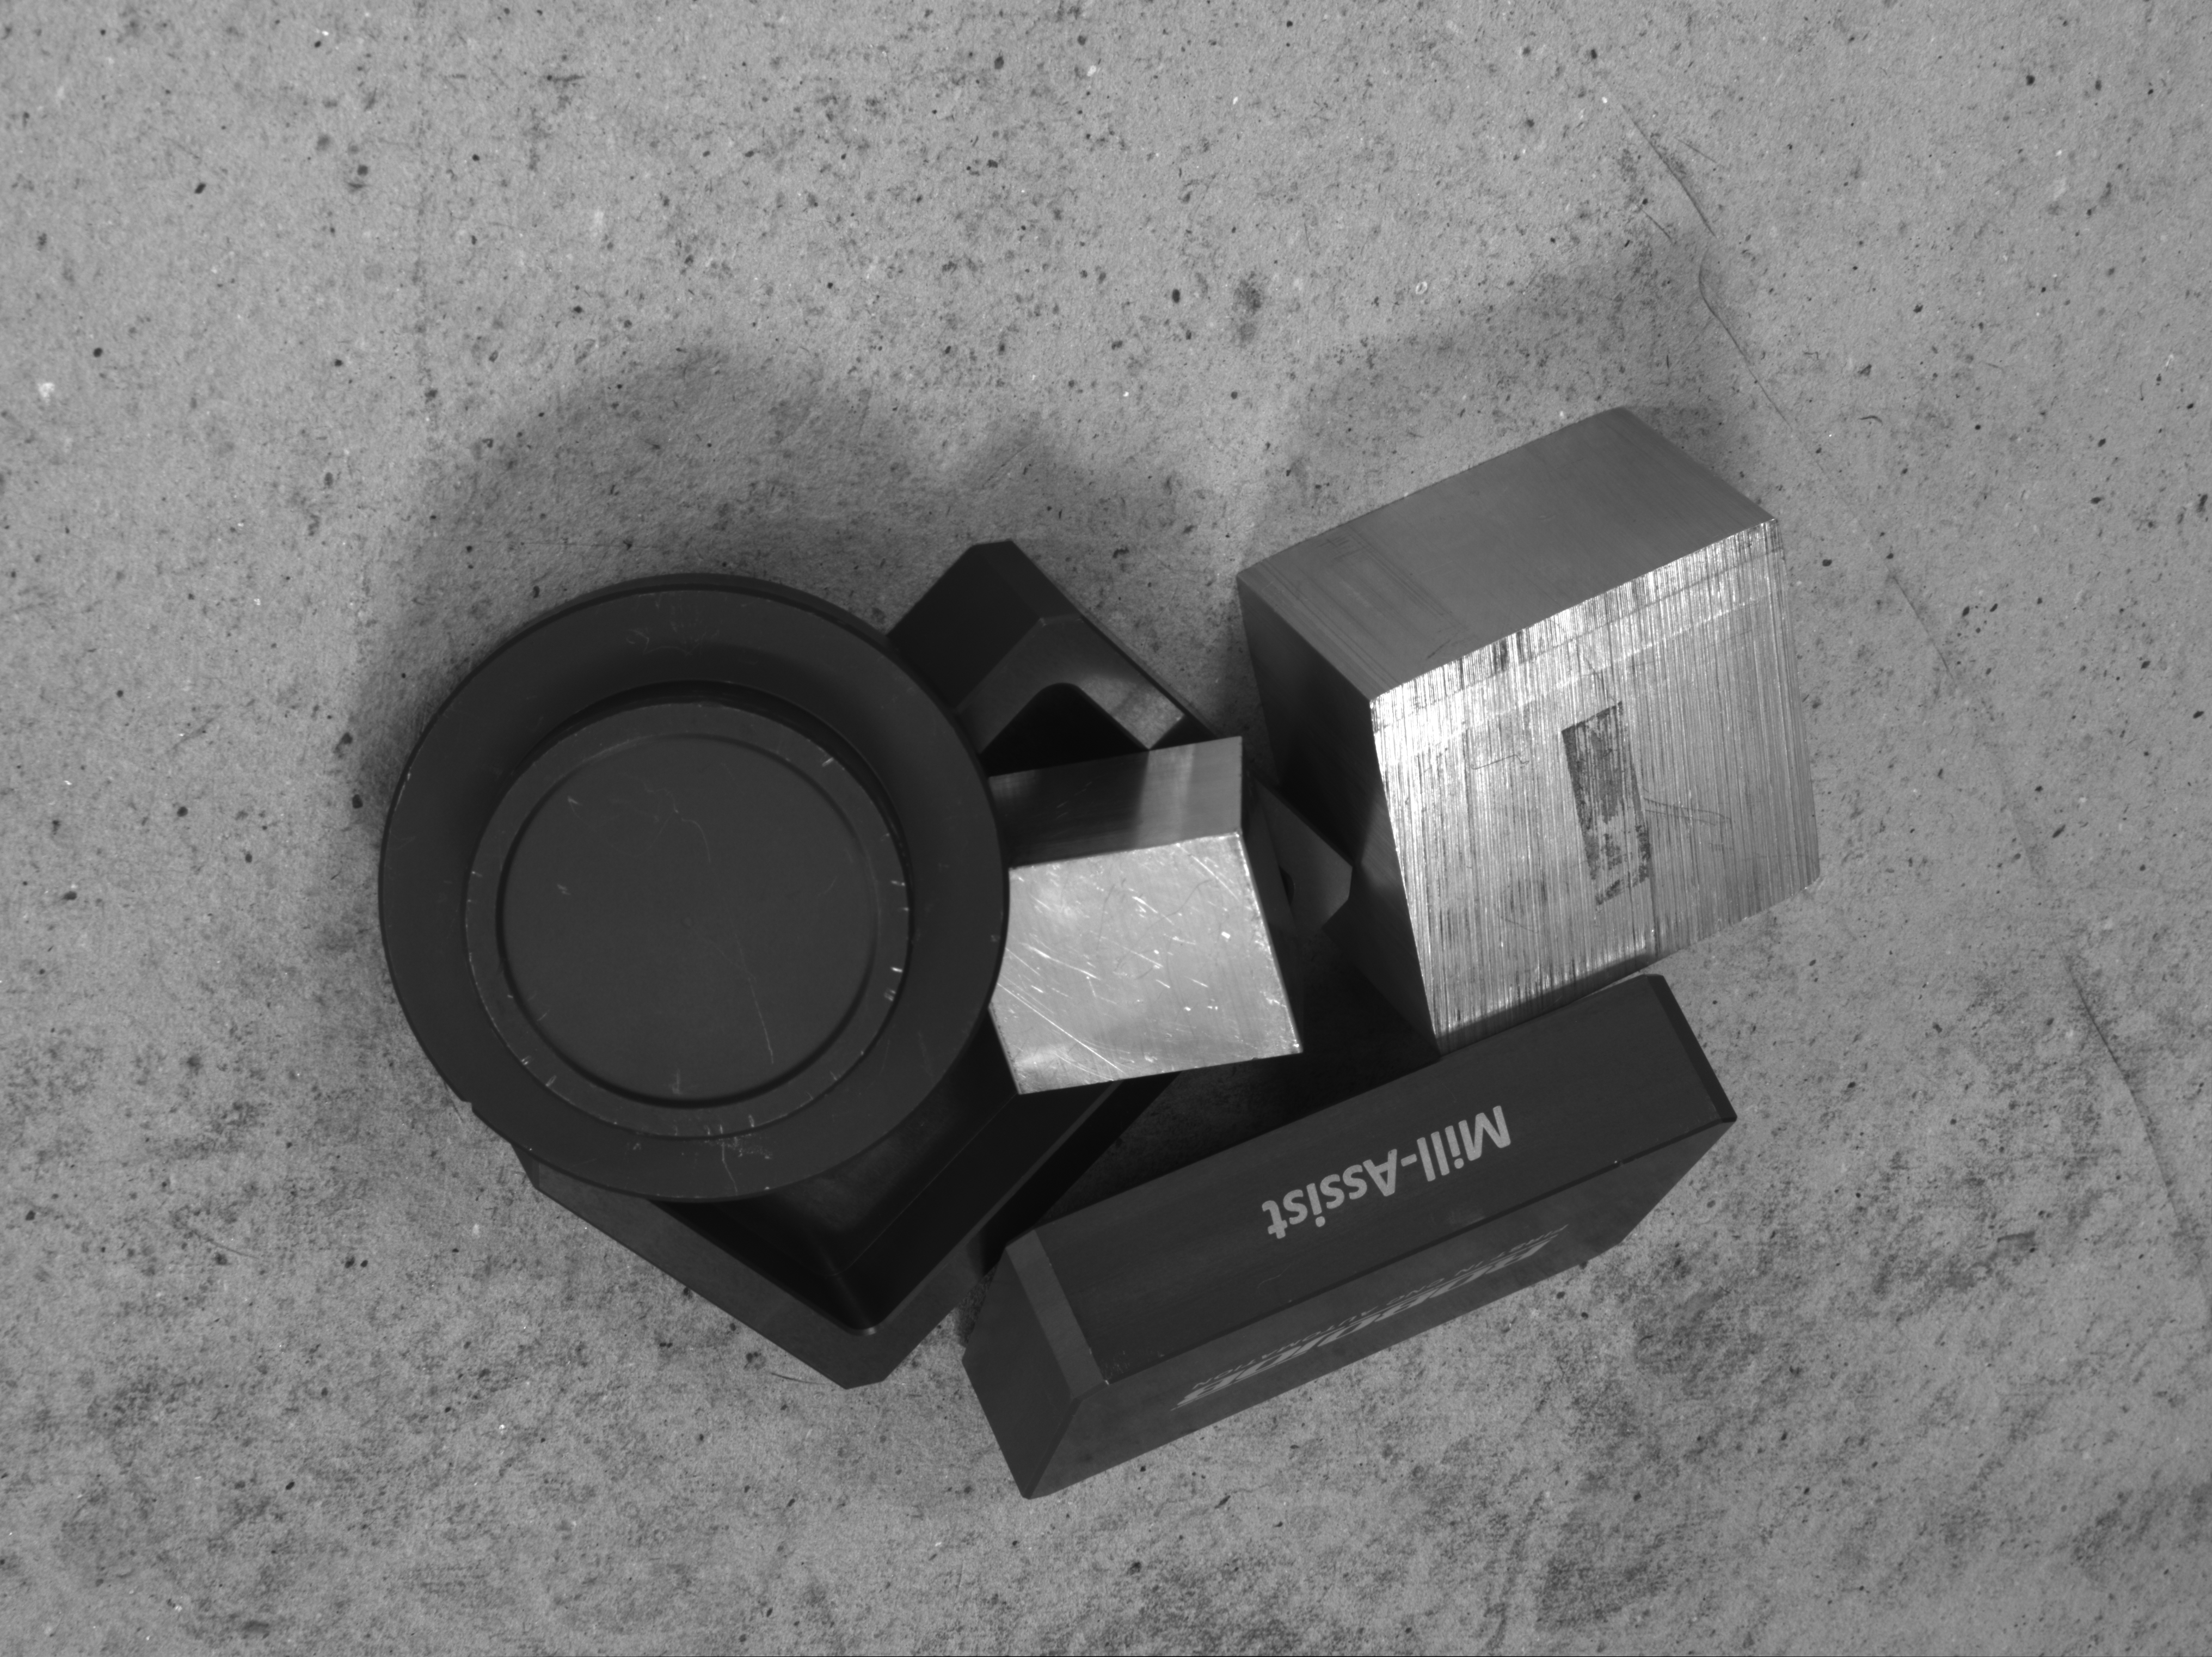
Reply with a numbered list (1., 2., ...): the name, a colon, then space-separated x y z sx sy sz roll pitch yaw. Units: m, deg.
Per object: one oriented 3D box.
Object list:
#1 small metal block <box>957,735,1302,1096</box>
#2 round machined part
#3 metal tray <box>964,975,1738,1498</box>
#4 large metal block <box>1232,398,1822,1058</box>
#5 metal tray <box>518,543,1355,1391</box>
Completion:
1. small metal block: 0.003 0.015 0.620 0.050 0.025 0.050 -9 129 10
2. round machined part: -0.064 0.011 0.572 0.098 0.042 0.098 -1 99 -4
3. metal tray: 0.042 0.076 0.674 0.130 0.030 0.090 -21 162 -15
4. large metal block: 0.076 -0.018 0.652 0.080 0.050 0.080 -24 127 -13
5. metal tray: -0.031 0.026 0.633 0.130 0.030 0.090 -47 129 4
